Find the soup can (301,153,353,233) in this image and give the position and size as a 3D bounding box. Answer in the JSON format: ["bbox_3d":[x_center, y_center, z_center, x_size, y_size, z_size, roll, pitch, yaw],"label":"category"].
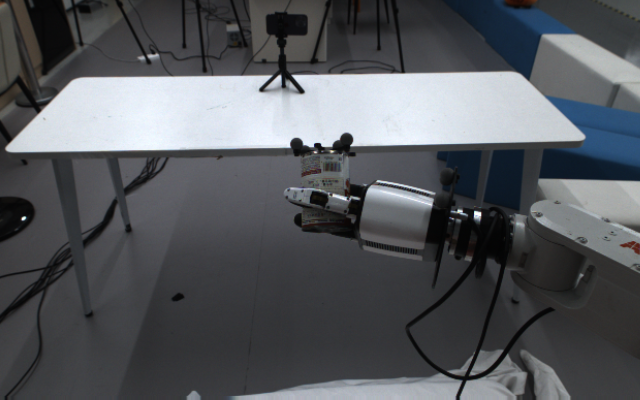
[{"bbox_3d":[0.009,-0.009,0.649,0.067,0.101,0.067,-1,-9,0],"label":"soup can"}]
